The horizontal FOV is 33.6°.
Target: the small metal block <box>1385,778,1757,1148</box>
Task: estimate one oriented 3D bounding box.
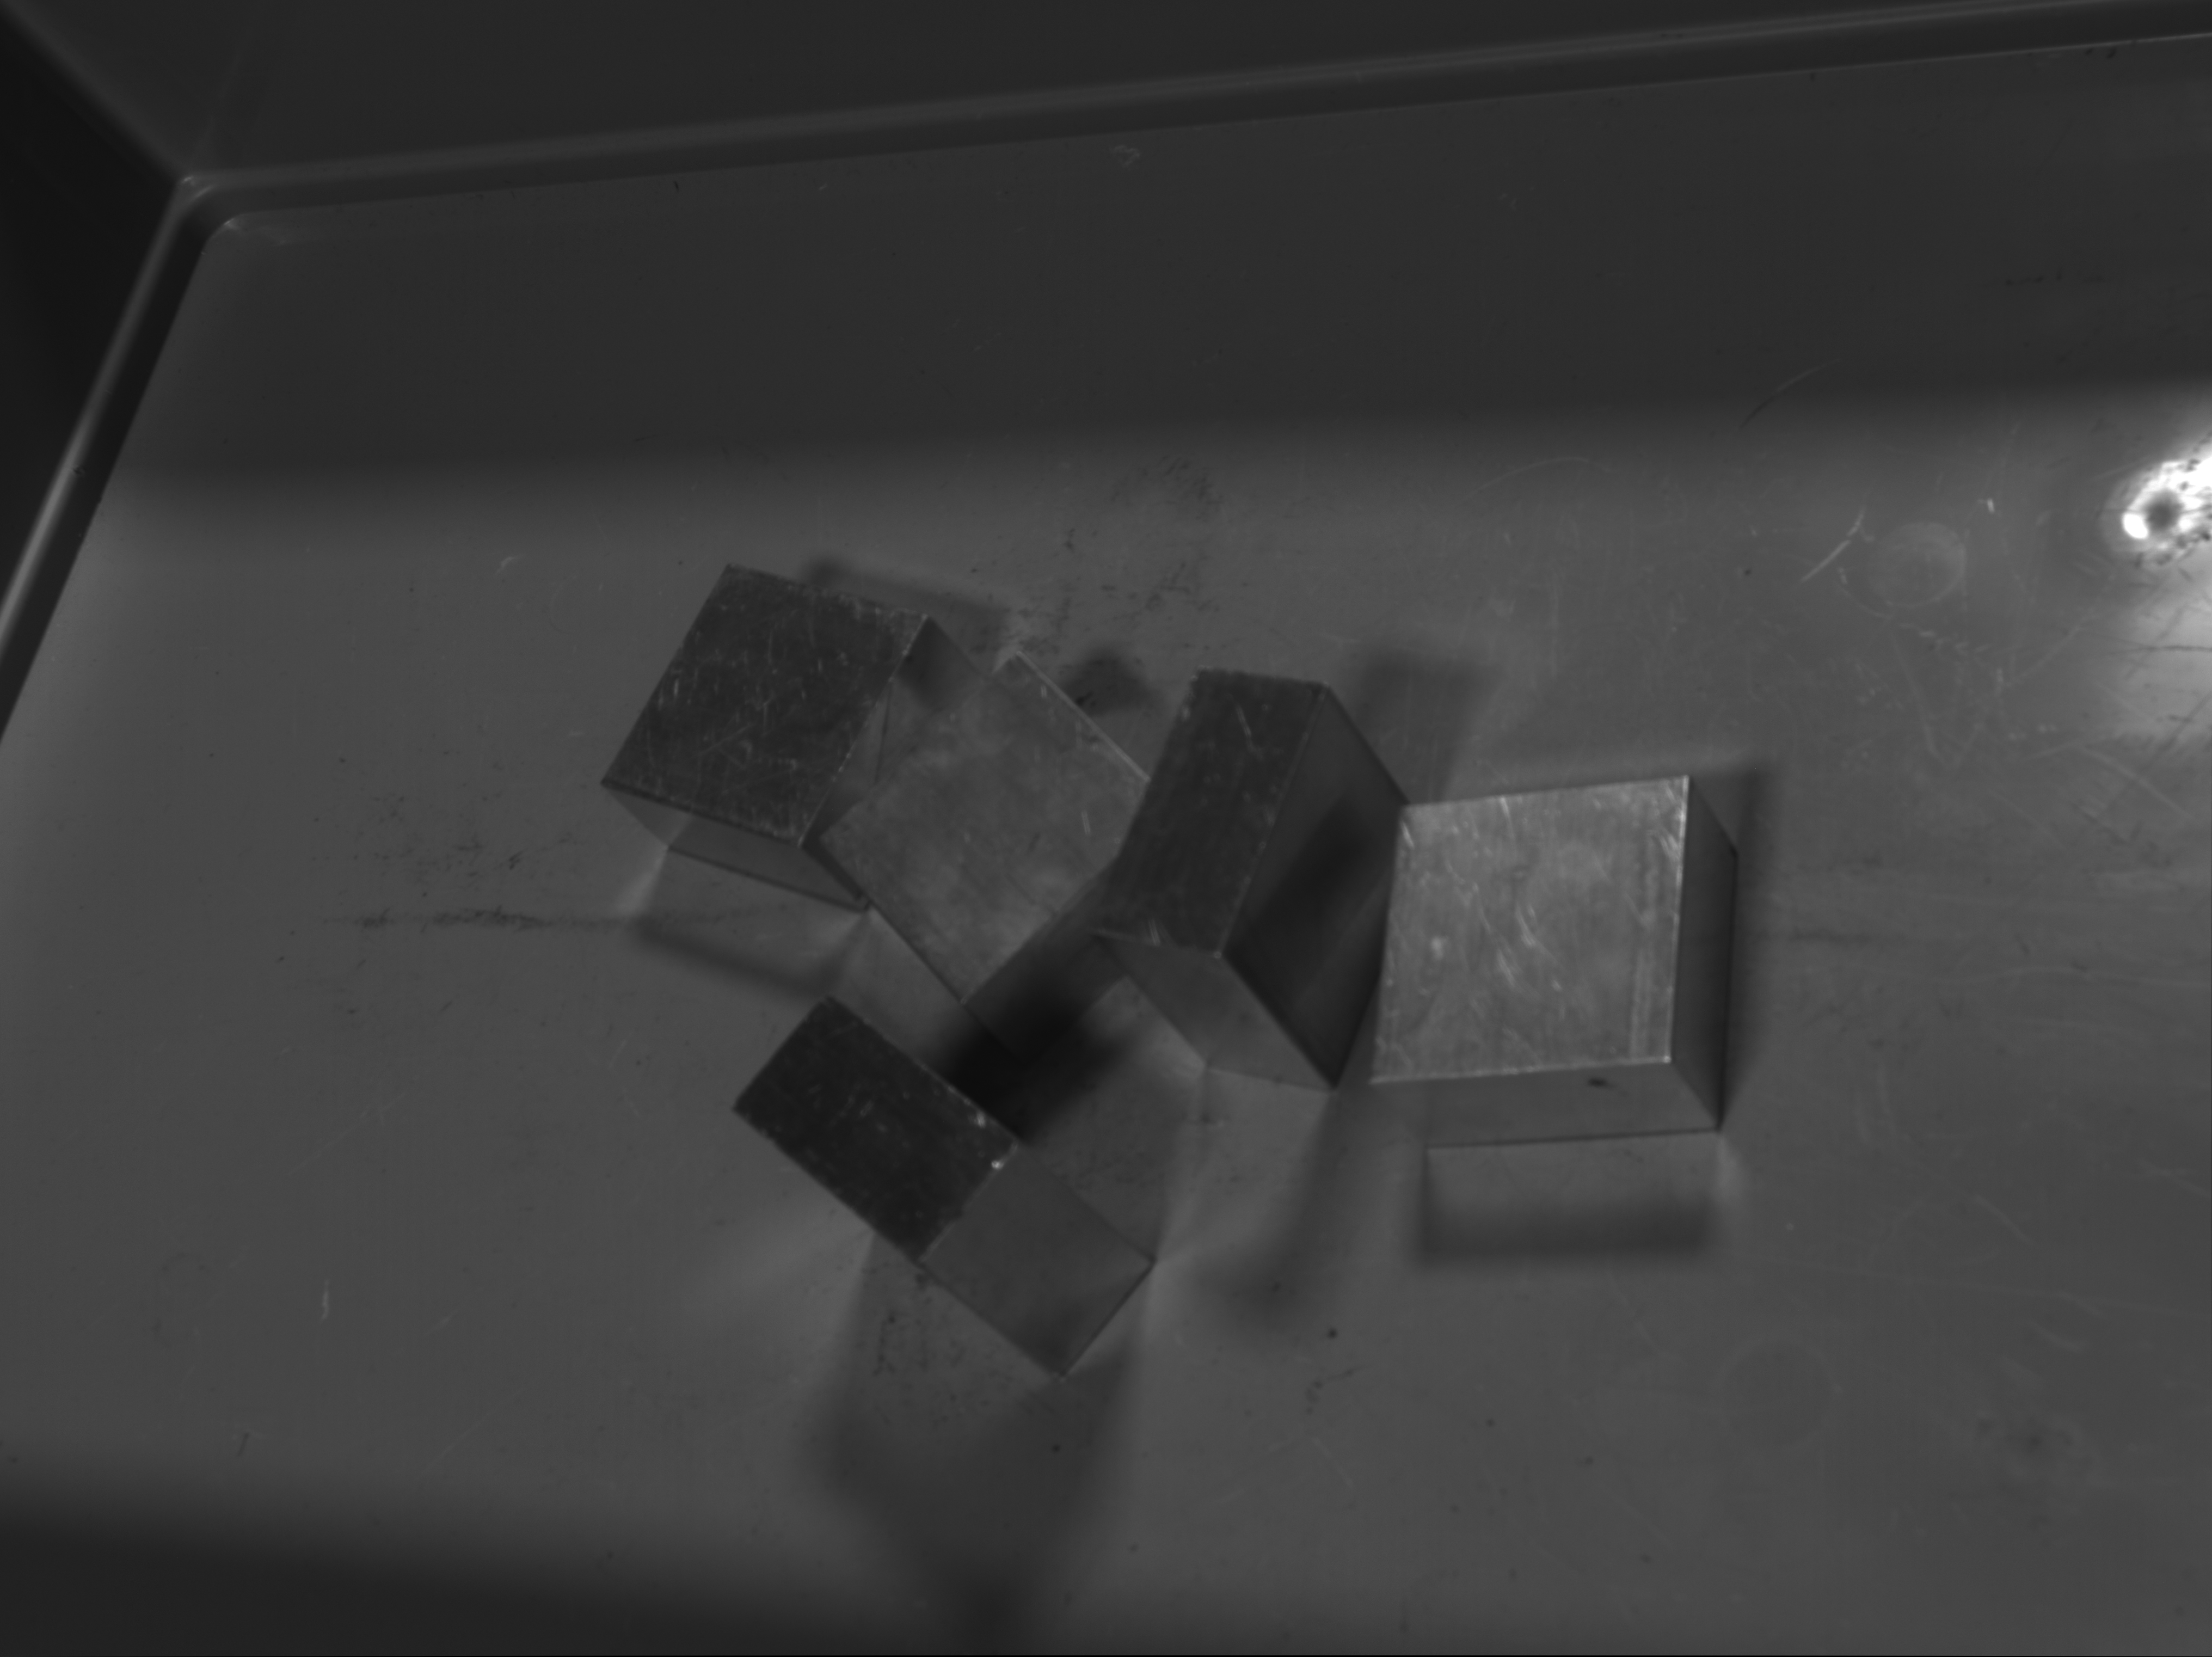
[{"bbox_3d":[0.075,0.022,0.588,0.050,0.025,0.050,-6,59,26],"label":"small metal block"}]

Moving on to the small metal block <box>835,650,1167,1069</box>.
[{"bbox_3d":[-0.011,0.005,0.644,0.050,0.025,0.050,-43,51,-2],"label":"small metal block"}]

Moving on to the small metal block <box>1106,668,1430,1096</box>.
[{"bbox_3d":[0.030,0.009,0.605,0.025,0.050,0.050,10,67,32],"label":"small metal block"}]

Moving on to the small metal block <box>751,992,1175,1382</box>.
[{"bbox_3d":[-0.023,0.059,0.602,0.050,0.050,0.025,35,82,38],"label":"small metal block"}]

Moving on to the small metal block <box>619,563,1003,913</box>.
[{"bbox_3d":[-0.054,-0.017,0.682,0.050,0.025,0.050,16,70,35],"label":"small metal block"}]
